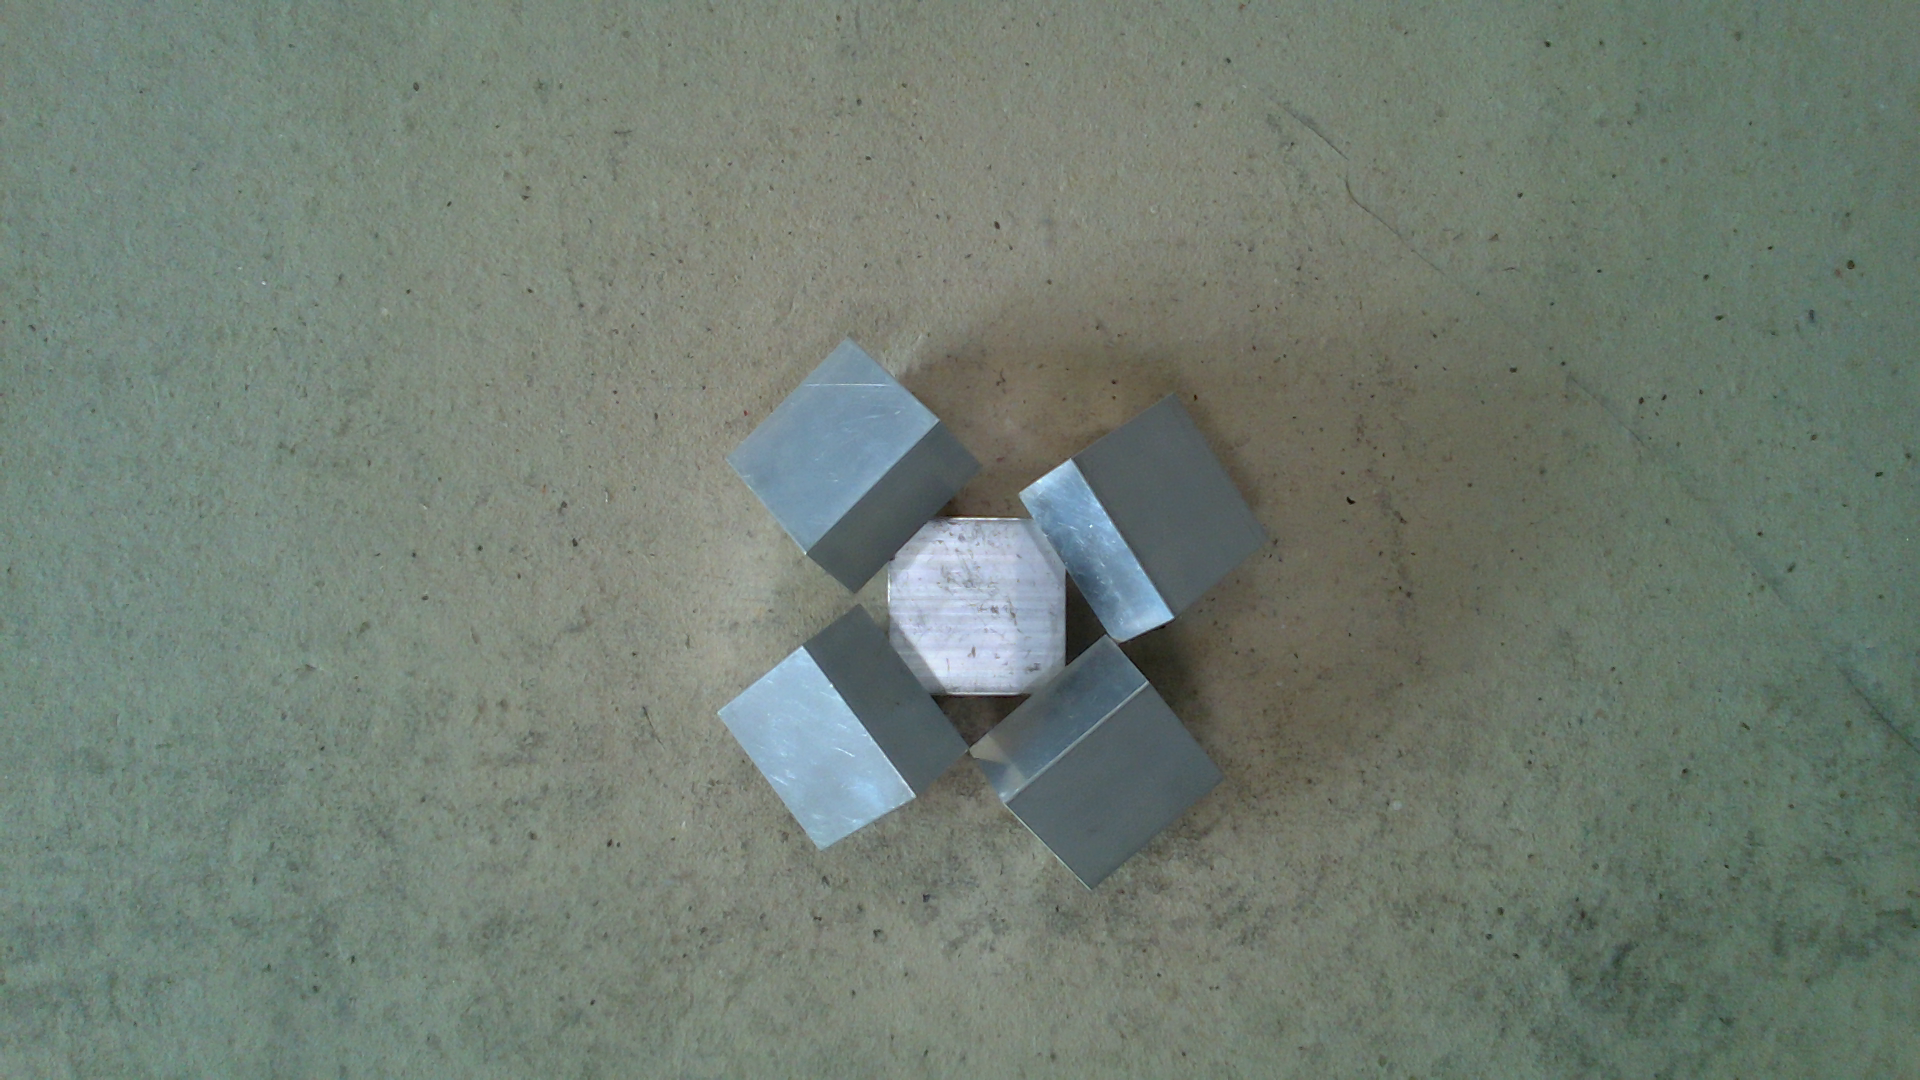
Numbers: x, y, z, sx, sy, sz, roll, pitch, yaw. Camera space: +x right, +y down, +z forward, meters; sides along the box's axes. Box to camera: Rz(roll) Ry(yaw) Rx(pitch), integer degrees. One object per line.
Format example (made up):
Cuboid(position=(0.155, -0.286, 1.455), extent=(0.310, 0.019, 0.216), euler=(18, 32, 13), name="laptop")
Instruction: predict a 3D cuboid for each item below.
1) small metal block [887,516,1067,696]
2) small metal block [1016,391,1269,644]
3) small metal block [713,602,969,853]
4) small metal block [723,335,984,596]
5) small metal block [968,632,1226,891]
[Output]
Cuboid(position=(0.005, 0.018, 0.396), extent=(0.050, 0.025, 0.050), euler=(0, 90, -1), name="small metal block")
Cuboid(position=(0.052, -0.007, 0.384), extent=(0.050, 0.025, 0.050), euler=(-34, 91, -41), name="small metal block")
Cuboid(position=(-0.034, 0.053, 0.383), extent=(0.050, 0.025, 0.050), euler=(53, 134, 0), name="small metal block")
Cuboid(position=(-0.030, -0.021, 0.383), extent=(0.050, 0.025, 0.050), euler=(-45, 49, 0), name="small metal block")
Cuboid(position=(0.038, 0.062, 0.384), extent=(0.050, 0.025, 0.050), euler=(-40, 128, 0), name="small metal block")
